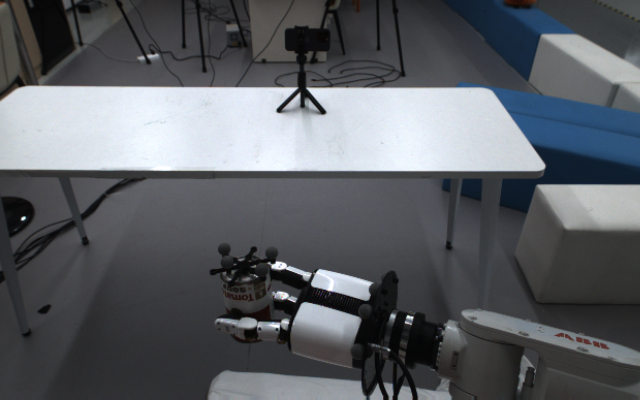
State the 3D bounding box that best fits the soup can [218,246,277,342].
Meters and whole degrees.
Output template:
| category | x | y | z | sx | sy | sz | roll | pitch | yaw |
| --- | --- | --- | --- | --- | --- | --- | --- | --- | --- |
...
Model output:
| category | x | y | z | sx | sy | sz | roll | pitch | yaw |
| --- | --- | --- | --- | --- | --- | --- | --- | --- | --- |
| soup can | -0.096 | 0.137 | 0.669 | 0.067 | 0.101 | 0.067 | -3 | 27 | 2 |
